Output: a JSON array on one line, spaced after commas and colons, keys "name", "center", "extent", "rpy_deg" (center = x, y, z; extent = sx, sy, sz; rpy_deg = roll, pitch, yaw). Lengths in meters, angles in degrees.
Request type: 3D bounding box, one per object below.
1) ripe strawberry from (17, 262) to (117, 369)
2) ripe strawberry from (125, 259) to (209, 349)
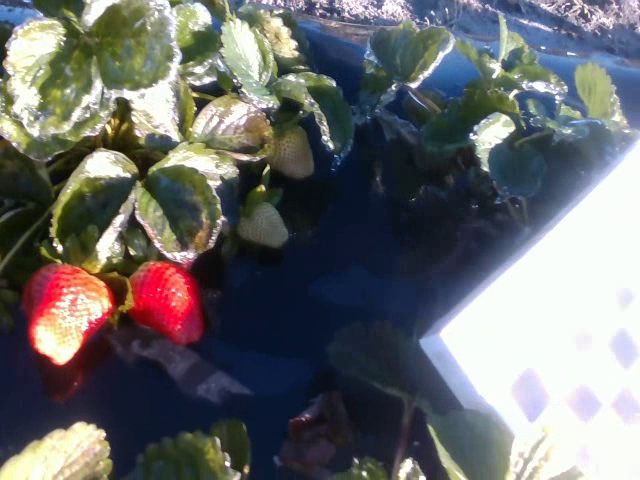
[{"name": "ripe strawberry", "center": [-0.143, 0.045, 0.334], "extent": [0.052, 0.070, 0.040], "rpy_deg": [18, -31, -24]}, {"name": "ripe strawberry", "center": [-0.092, 0.036, 0.348], "extent": [0.043, 0.059, 0.040], "rpy_deg": [-35, -7, -28]}]
